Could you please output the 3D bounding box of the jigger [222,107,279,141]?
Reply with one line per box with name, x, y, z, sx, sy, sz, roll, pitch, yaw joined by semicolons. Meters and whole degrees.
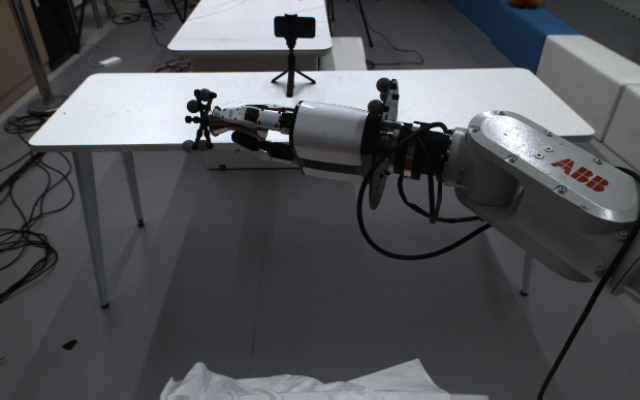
jigger;-0.101;-0.104;0.638;0.071;0.043;0.043;6;35;14
